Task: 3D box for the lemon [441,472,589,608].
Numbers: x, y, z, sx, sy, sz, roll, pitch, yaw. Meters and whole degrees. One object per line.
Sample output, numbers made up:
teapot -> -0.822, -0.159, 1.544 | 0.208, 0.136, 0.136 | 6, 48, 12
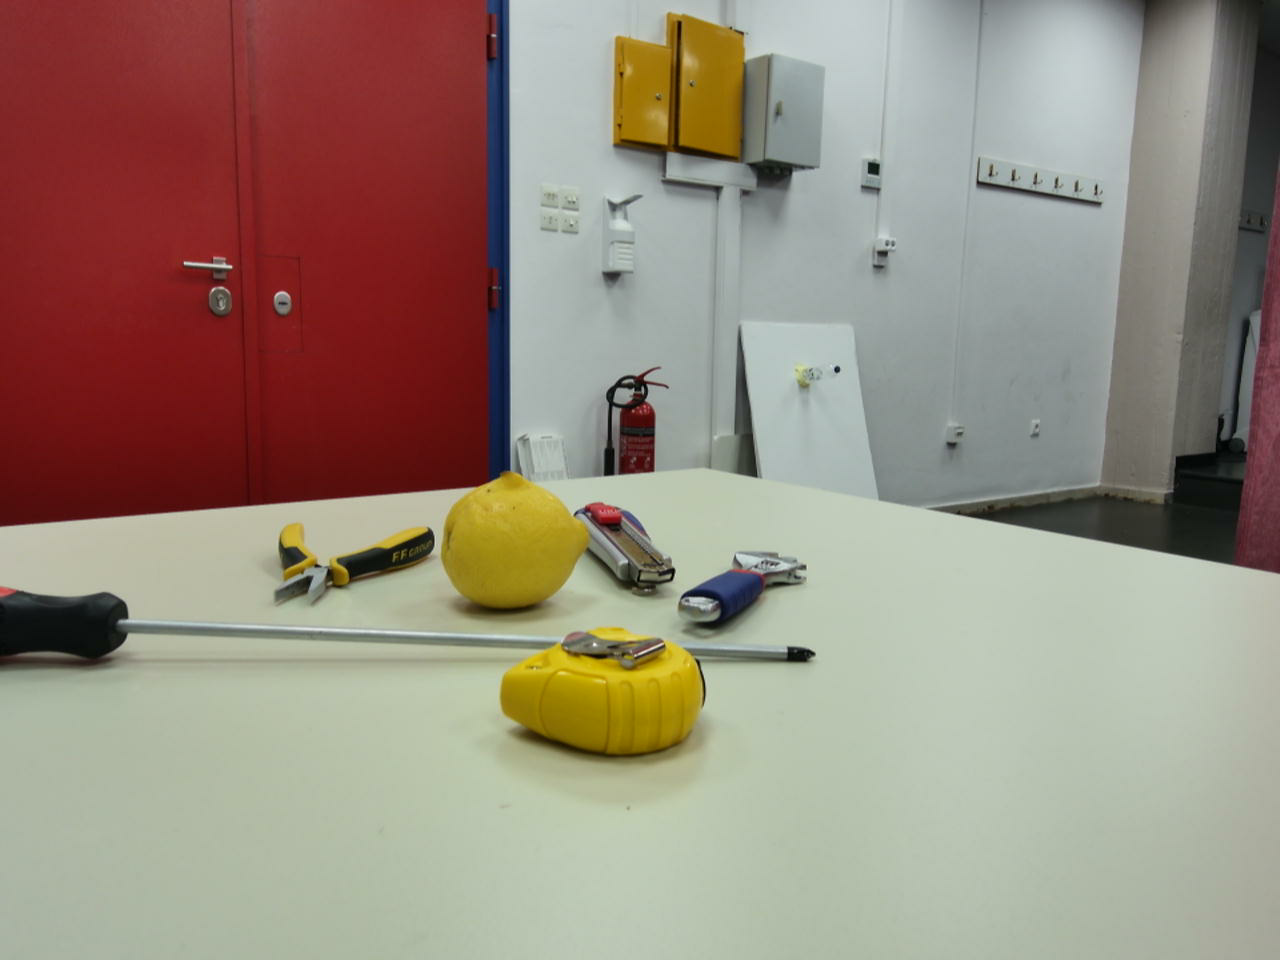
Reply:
lemon -> -0.069, 0.030, 0.523 | 0.071, 0.071, 0.070 | 2, 7, 19
